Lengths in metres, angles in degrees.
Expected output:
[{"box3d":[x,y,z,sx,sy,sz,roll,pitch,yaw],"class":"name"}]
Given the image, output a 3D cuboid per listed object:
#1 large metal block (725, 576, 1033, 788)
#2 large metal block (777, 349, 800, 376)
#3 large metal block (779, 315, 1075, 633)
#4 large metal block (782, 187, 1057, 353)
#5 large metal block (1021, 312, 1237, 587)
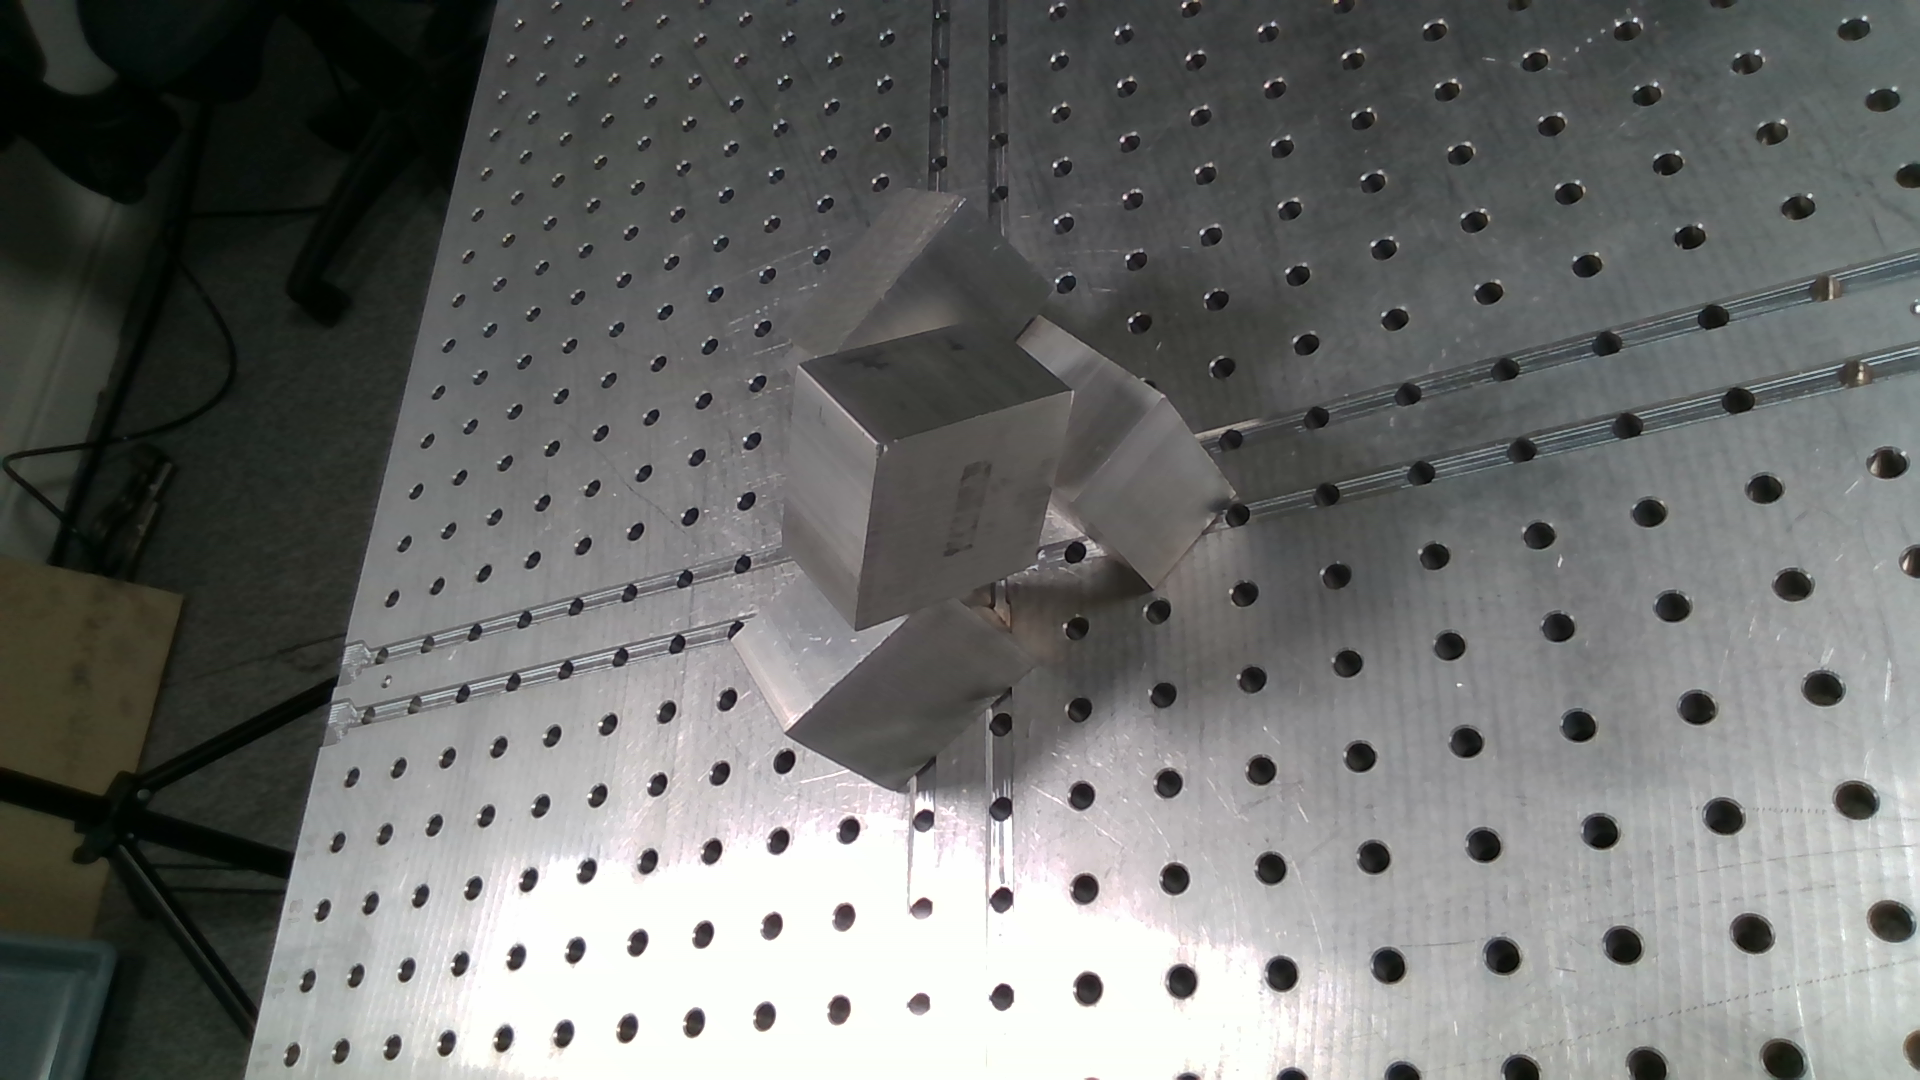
[{"box3d":[-0.031,0.043,0.547,0.080,0.080,0.050,-43,51,5],"class":"large metal block"},{"box3d":[-0.023,-0.080,0.628,0.080,0.050,0.080,-47,51,1],"class":"large metal block"},{"box3d":[-0.013,-0.024,0.483,0.080,0.080,0.050,-20,48,-32],"class":"large metal block"},{"box3d":[-0.020,-0.092,0.549,0.080,0.050,0.080,-49,25,0],"class":"large metal block"},{"box3d":[0.051,-0.037,0.539,0.050,0.080,0.080,-49,51,0],"class":"large metal block"}]
